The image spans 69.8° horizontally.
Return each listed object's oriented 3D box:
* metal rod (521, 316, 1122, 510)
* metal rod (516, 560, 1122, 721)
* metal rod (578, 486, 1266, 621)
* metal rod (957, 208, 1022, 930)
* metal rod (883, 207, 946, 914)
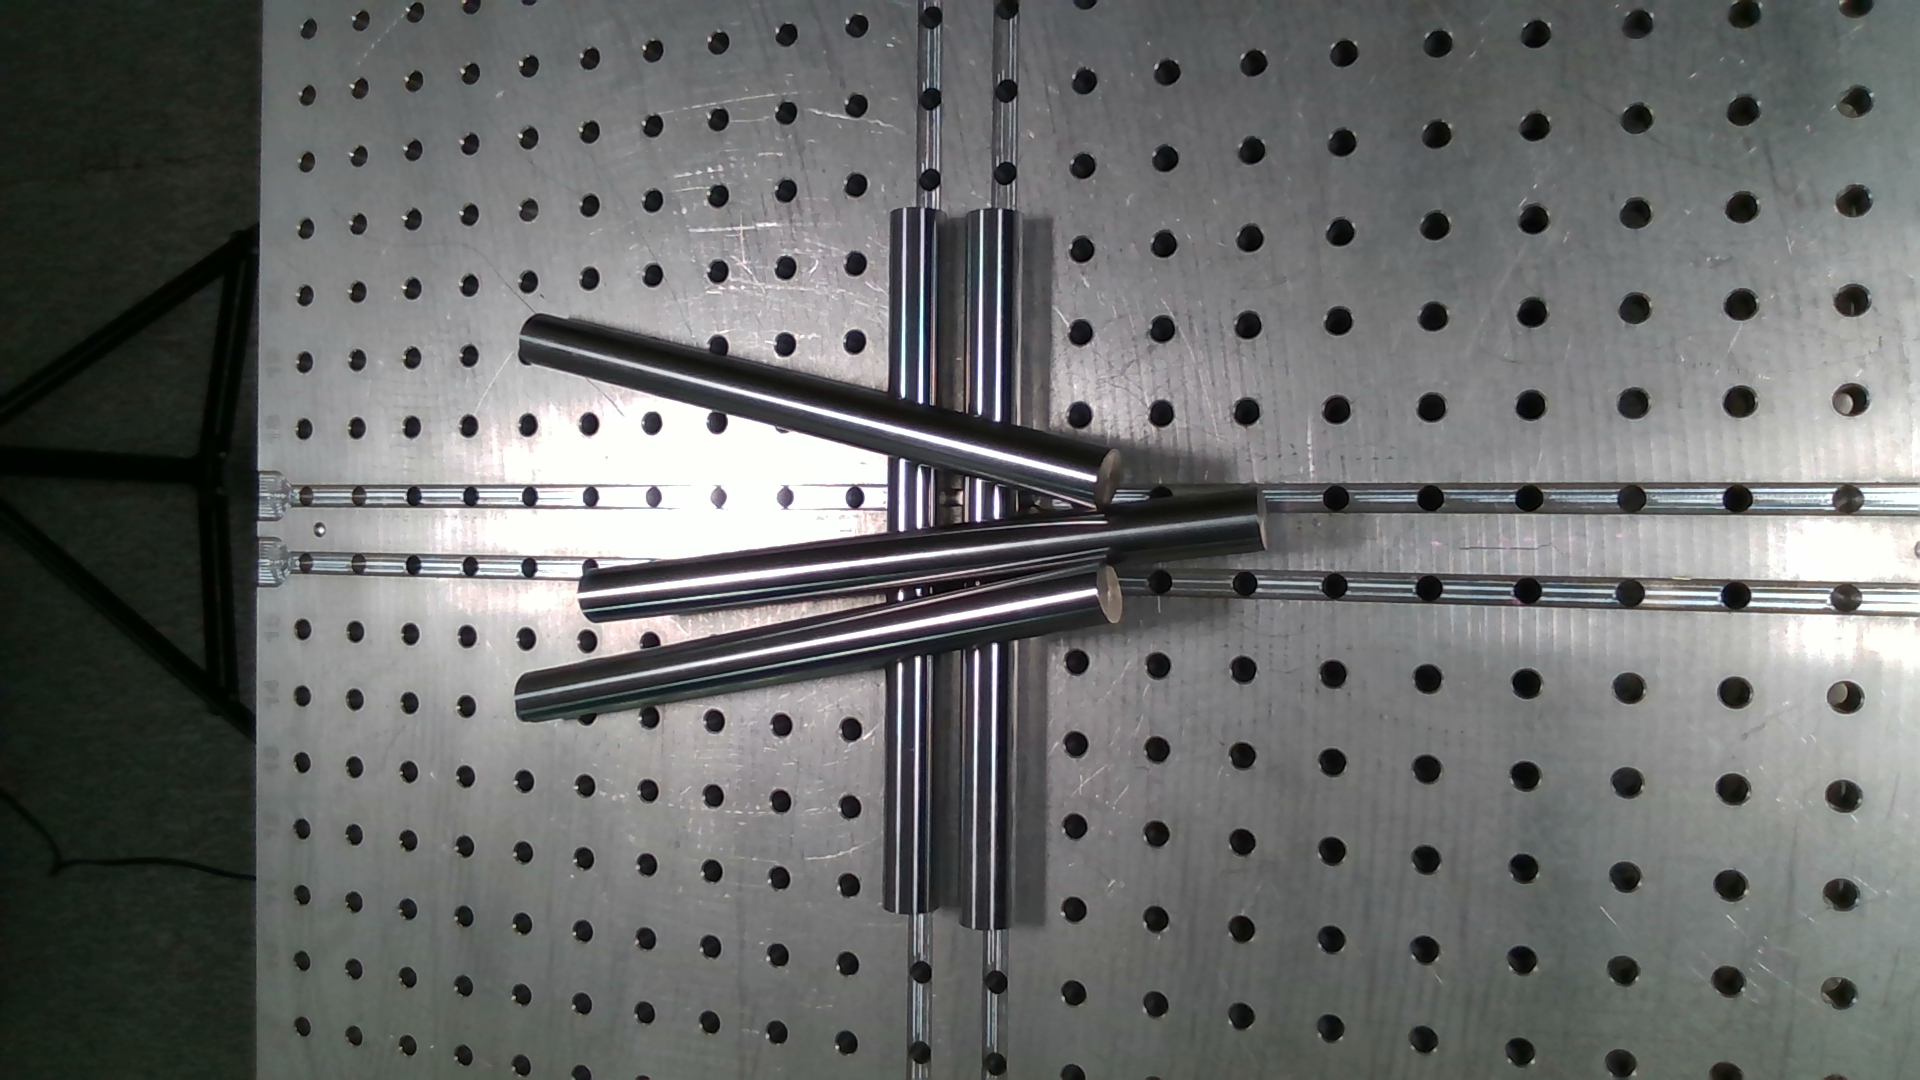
[{"bbox_3d":[-0.072,-0.059,0.595,0.300,0.025,0.025,16,96,26],"label":"metal rod"},{"bbox_3d":[-0.074,0.047,0.596,0.300,0.025,0.025,-12,86,27],"label":"metal rod"},{"bbox_3d":[-0.026,0.009,0.571,0.300,0.025,0.025,-7,88,20],"label":"metal rod"},{"bbox_3d":[0.013,0.012,0.584,0.025,0.025,0.300,1,91,20],"label":"metal rod"},{"bbox_3d":[-0.020,0.009,0.596,0.025,0.025,0.300,1,91,20],"label":"metal rod"}]
